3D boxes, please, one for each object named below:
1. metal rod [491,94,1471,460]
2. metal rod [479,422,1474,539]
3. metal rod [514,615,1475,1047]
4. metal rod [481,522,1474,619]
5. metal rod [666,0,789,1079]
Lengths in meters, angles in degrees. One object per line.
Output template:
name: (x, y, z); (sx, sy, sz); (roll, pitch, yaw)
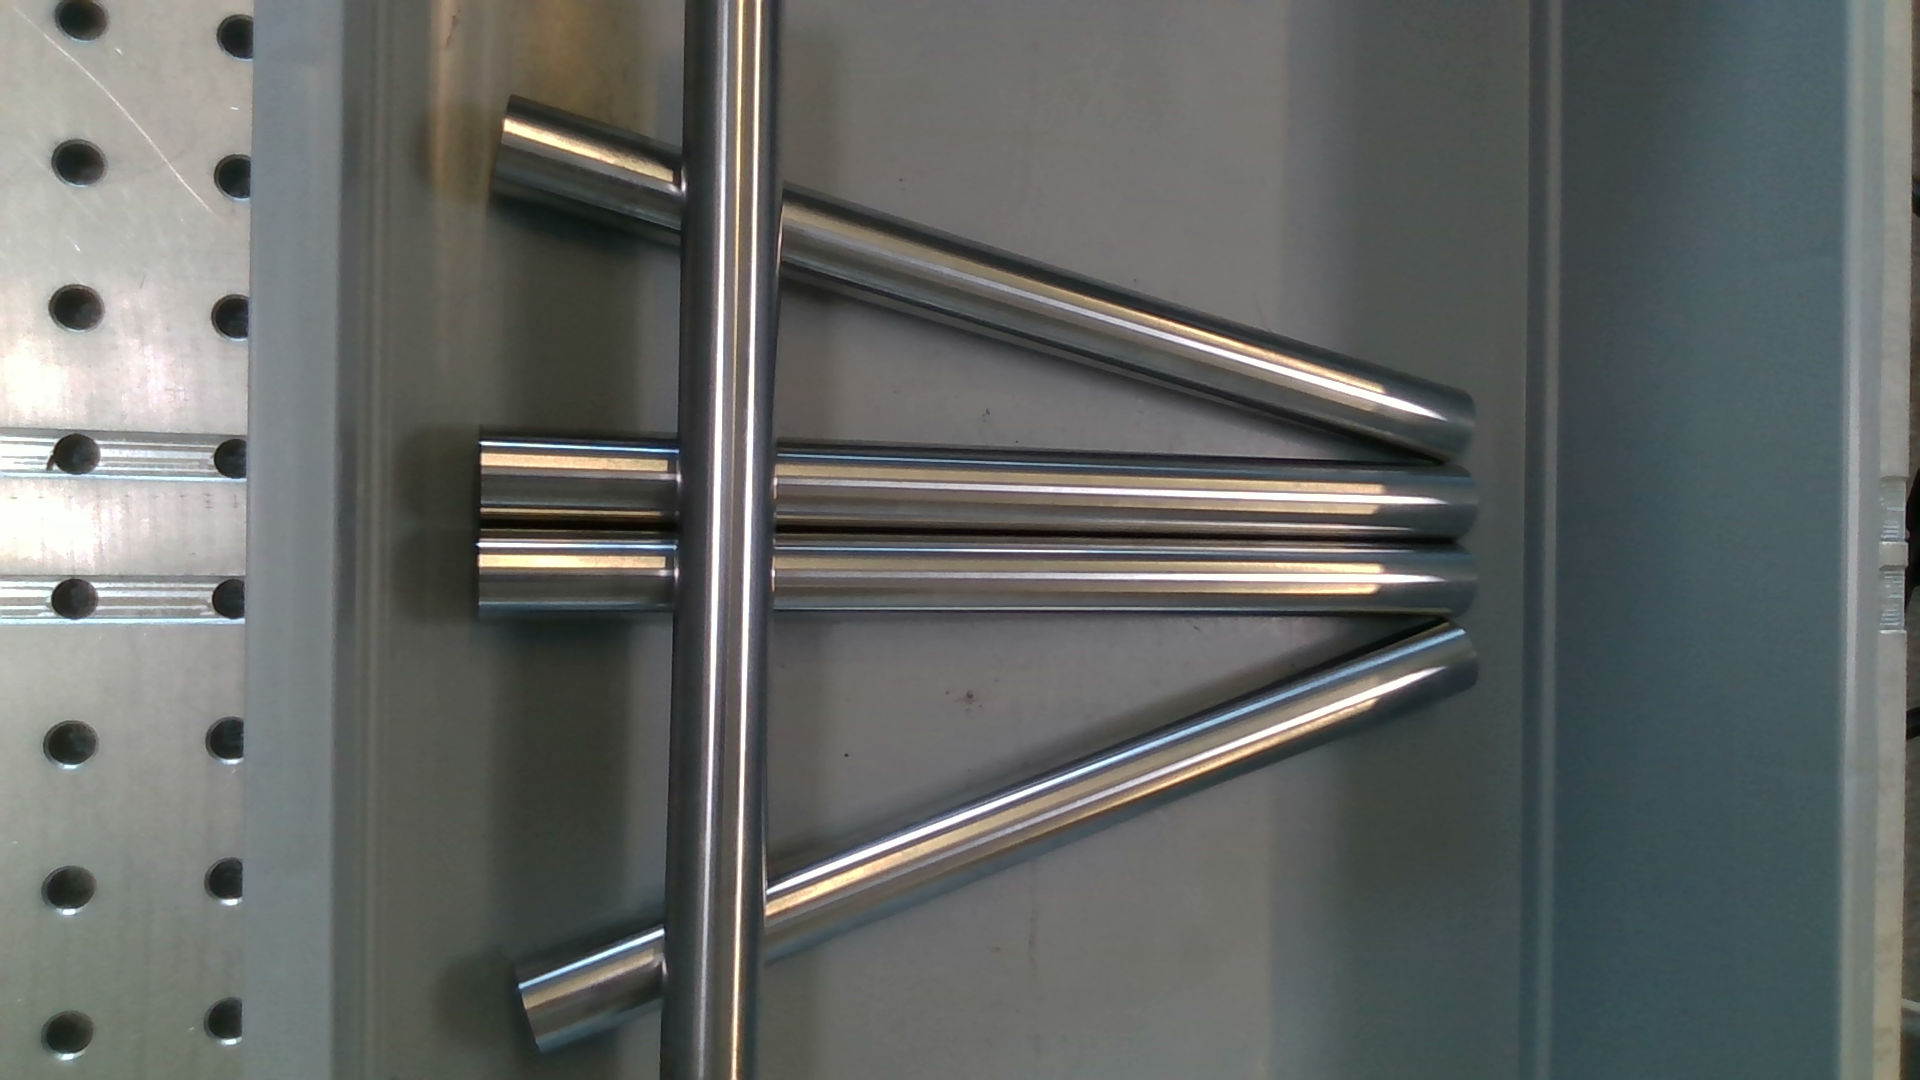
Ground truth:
metal rod: (0.021, -0.070, 0.401); (0.300, 0.025, 0.025); (13, 86, -20)
metal rod: (0.019, -0.015, 0.400); (0.300, 0.025, 0.025); (1, 90, -20)
metal rod: (0.025, 0.077, 0.403); (0.300, 0.025, 0.025); (-17, 96, -19)
metal rod: (0.020, 0.009, 0.401); (0.300, 0.025, 0.025); (1, 90, -20)
metal rod: (-0.058, 0.005, 0.344); (0.025, 0.025, 0.300); (1, 90, -20)
